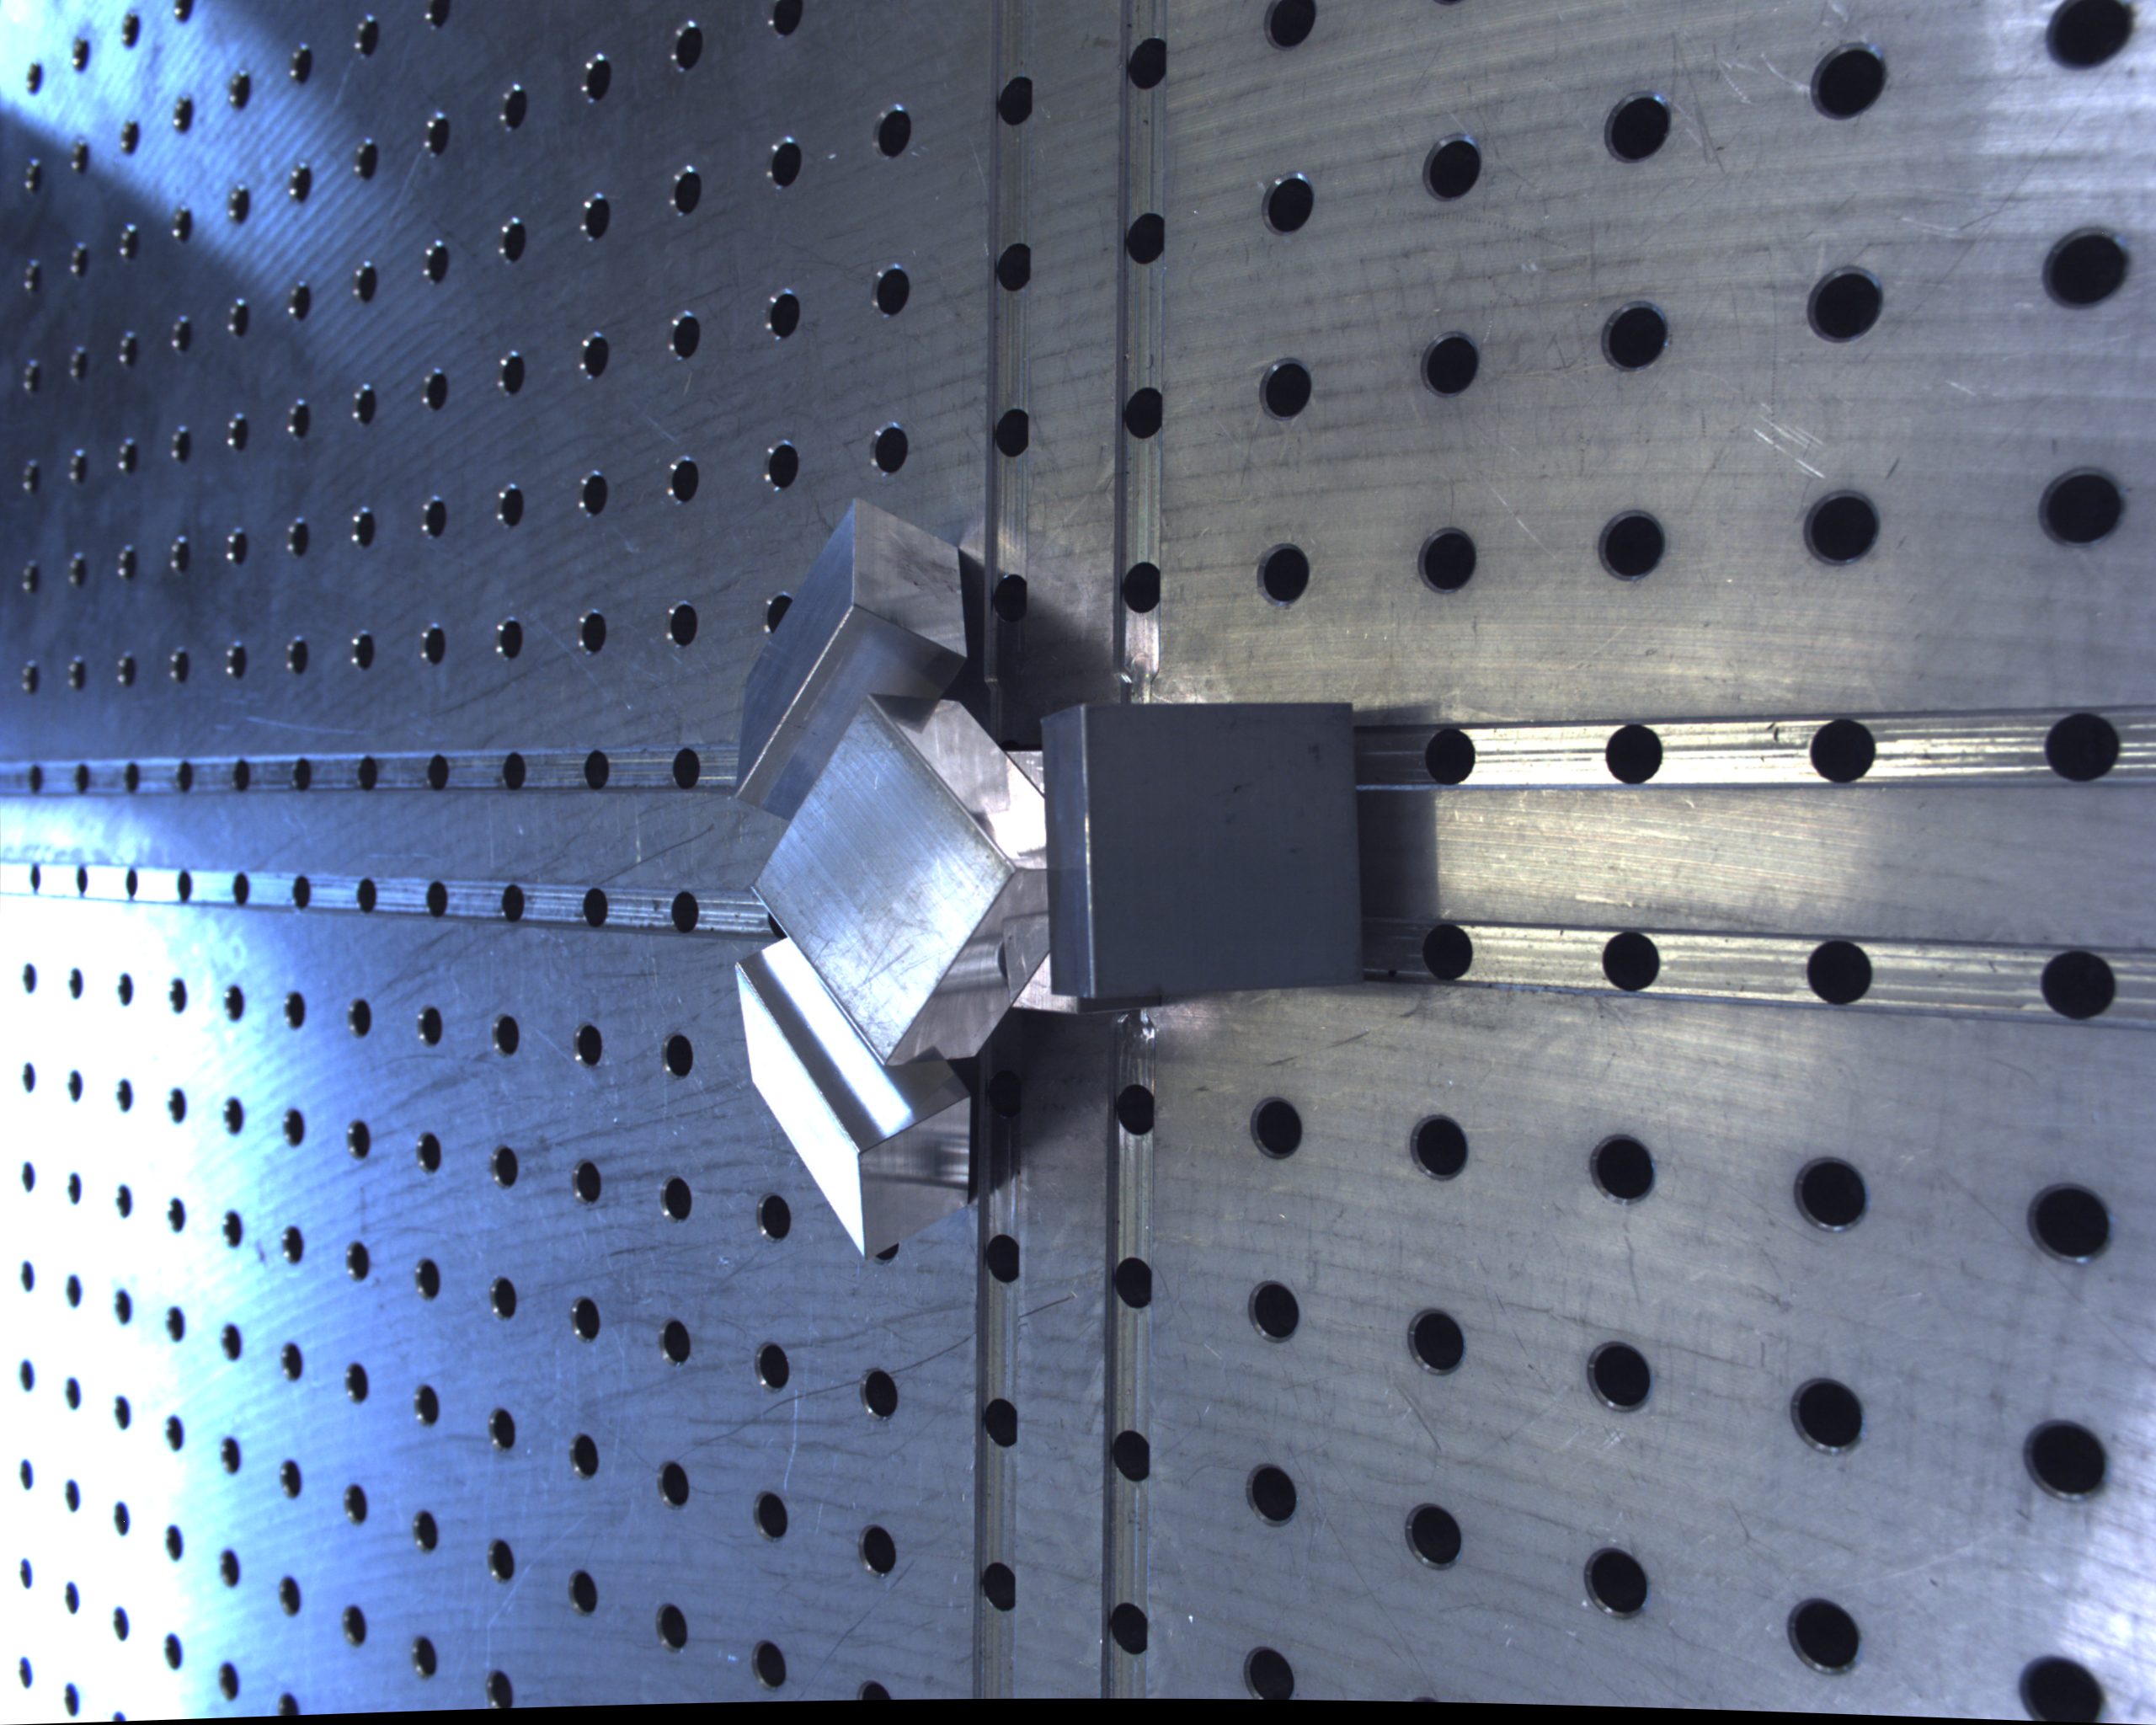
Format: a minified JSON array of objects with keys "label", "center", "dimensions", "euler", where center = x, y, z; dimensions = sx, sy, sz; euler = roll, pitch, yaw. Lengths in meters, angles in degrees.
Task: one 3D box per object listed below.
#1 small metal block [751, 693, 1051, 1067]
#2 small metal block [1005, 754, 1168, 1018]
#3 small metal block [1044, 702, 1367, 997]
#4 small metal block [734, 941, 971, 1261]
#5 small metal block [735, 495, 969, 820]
[{"label":"small metal block","center":[-0.029,0.003,0.402],"dimensions":[0.050,0.025,0.050],"euler":[49,118,28]},{"label":"small metal block","center":[-0.010,0.003,0.419],"dimensions":[0.050,0.025,0.050],"euler":[2,94,40]},{"label":"small metal block","center":[0.022,-0.002,0.372],"dimensions":[0.025,0.050,0.050],"euler":[172,96,-72]},{"label":"small metal block","center":[-0.046,0.046,0.432],"dimensions":[0.050,0.025,0.050],"euler":[53,158,27]},{"label":"small metal block","center":[-0.047,-0.040,0.433],"dimensions":[0.050,0.025,0.050],"euler":[-54,23,26]}]
